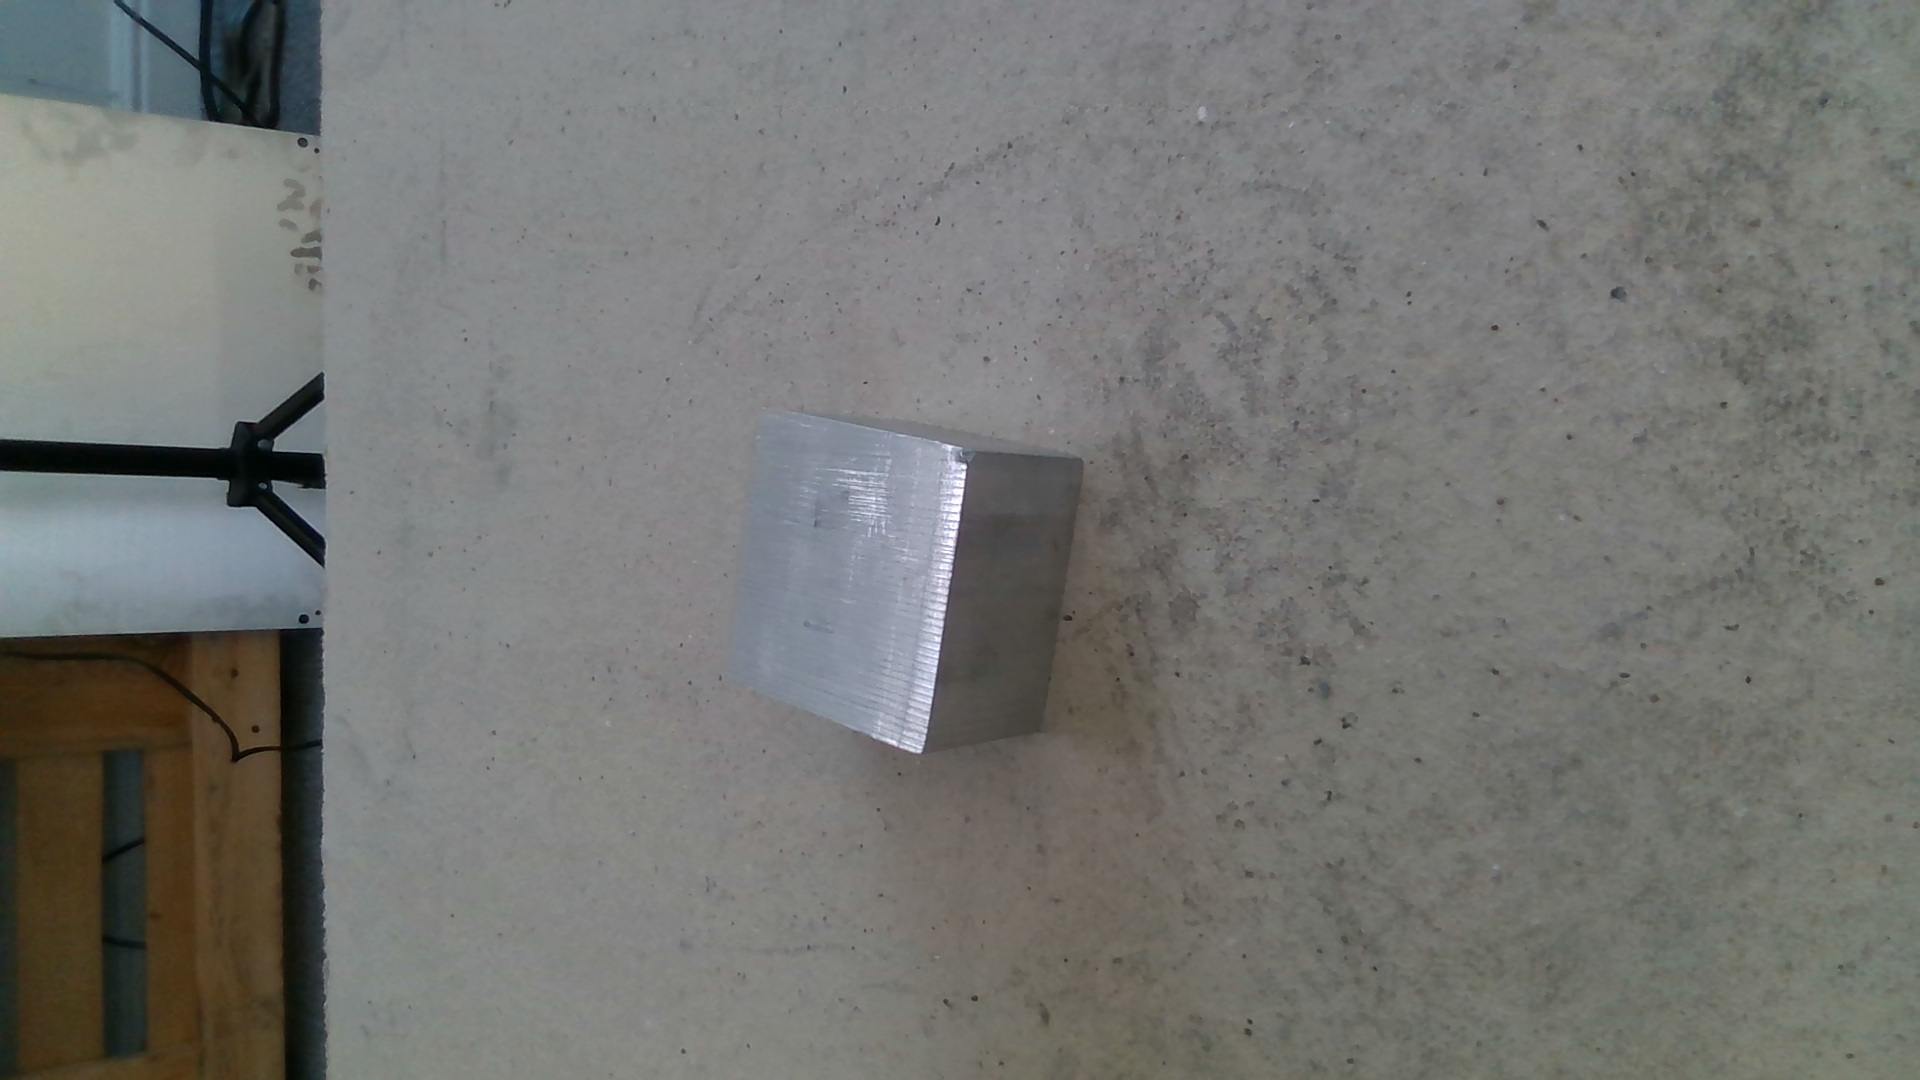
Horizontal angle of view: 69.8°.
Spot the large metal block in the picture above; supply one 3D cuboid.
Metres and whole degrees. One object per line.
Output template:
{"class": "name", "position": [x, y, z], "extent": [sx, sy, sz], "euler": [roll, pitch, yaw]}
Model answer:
{"class": "large metal block", "position": [-0.018, 0.008, 0.389], "extent": [0.080, 0.050, 0.080], "euler": [15, 101, 39]}
